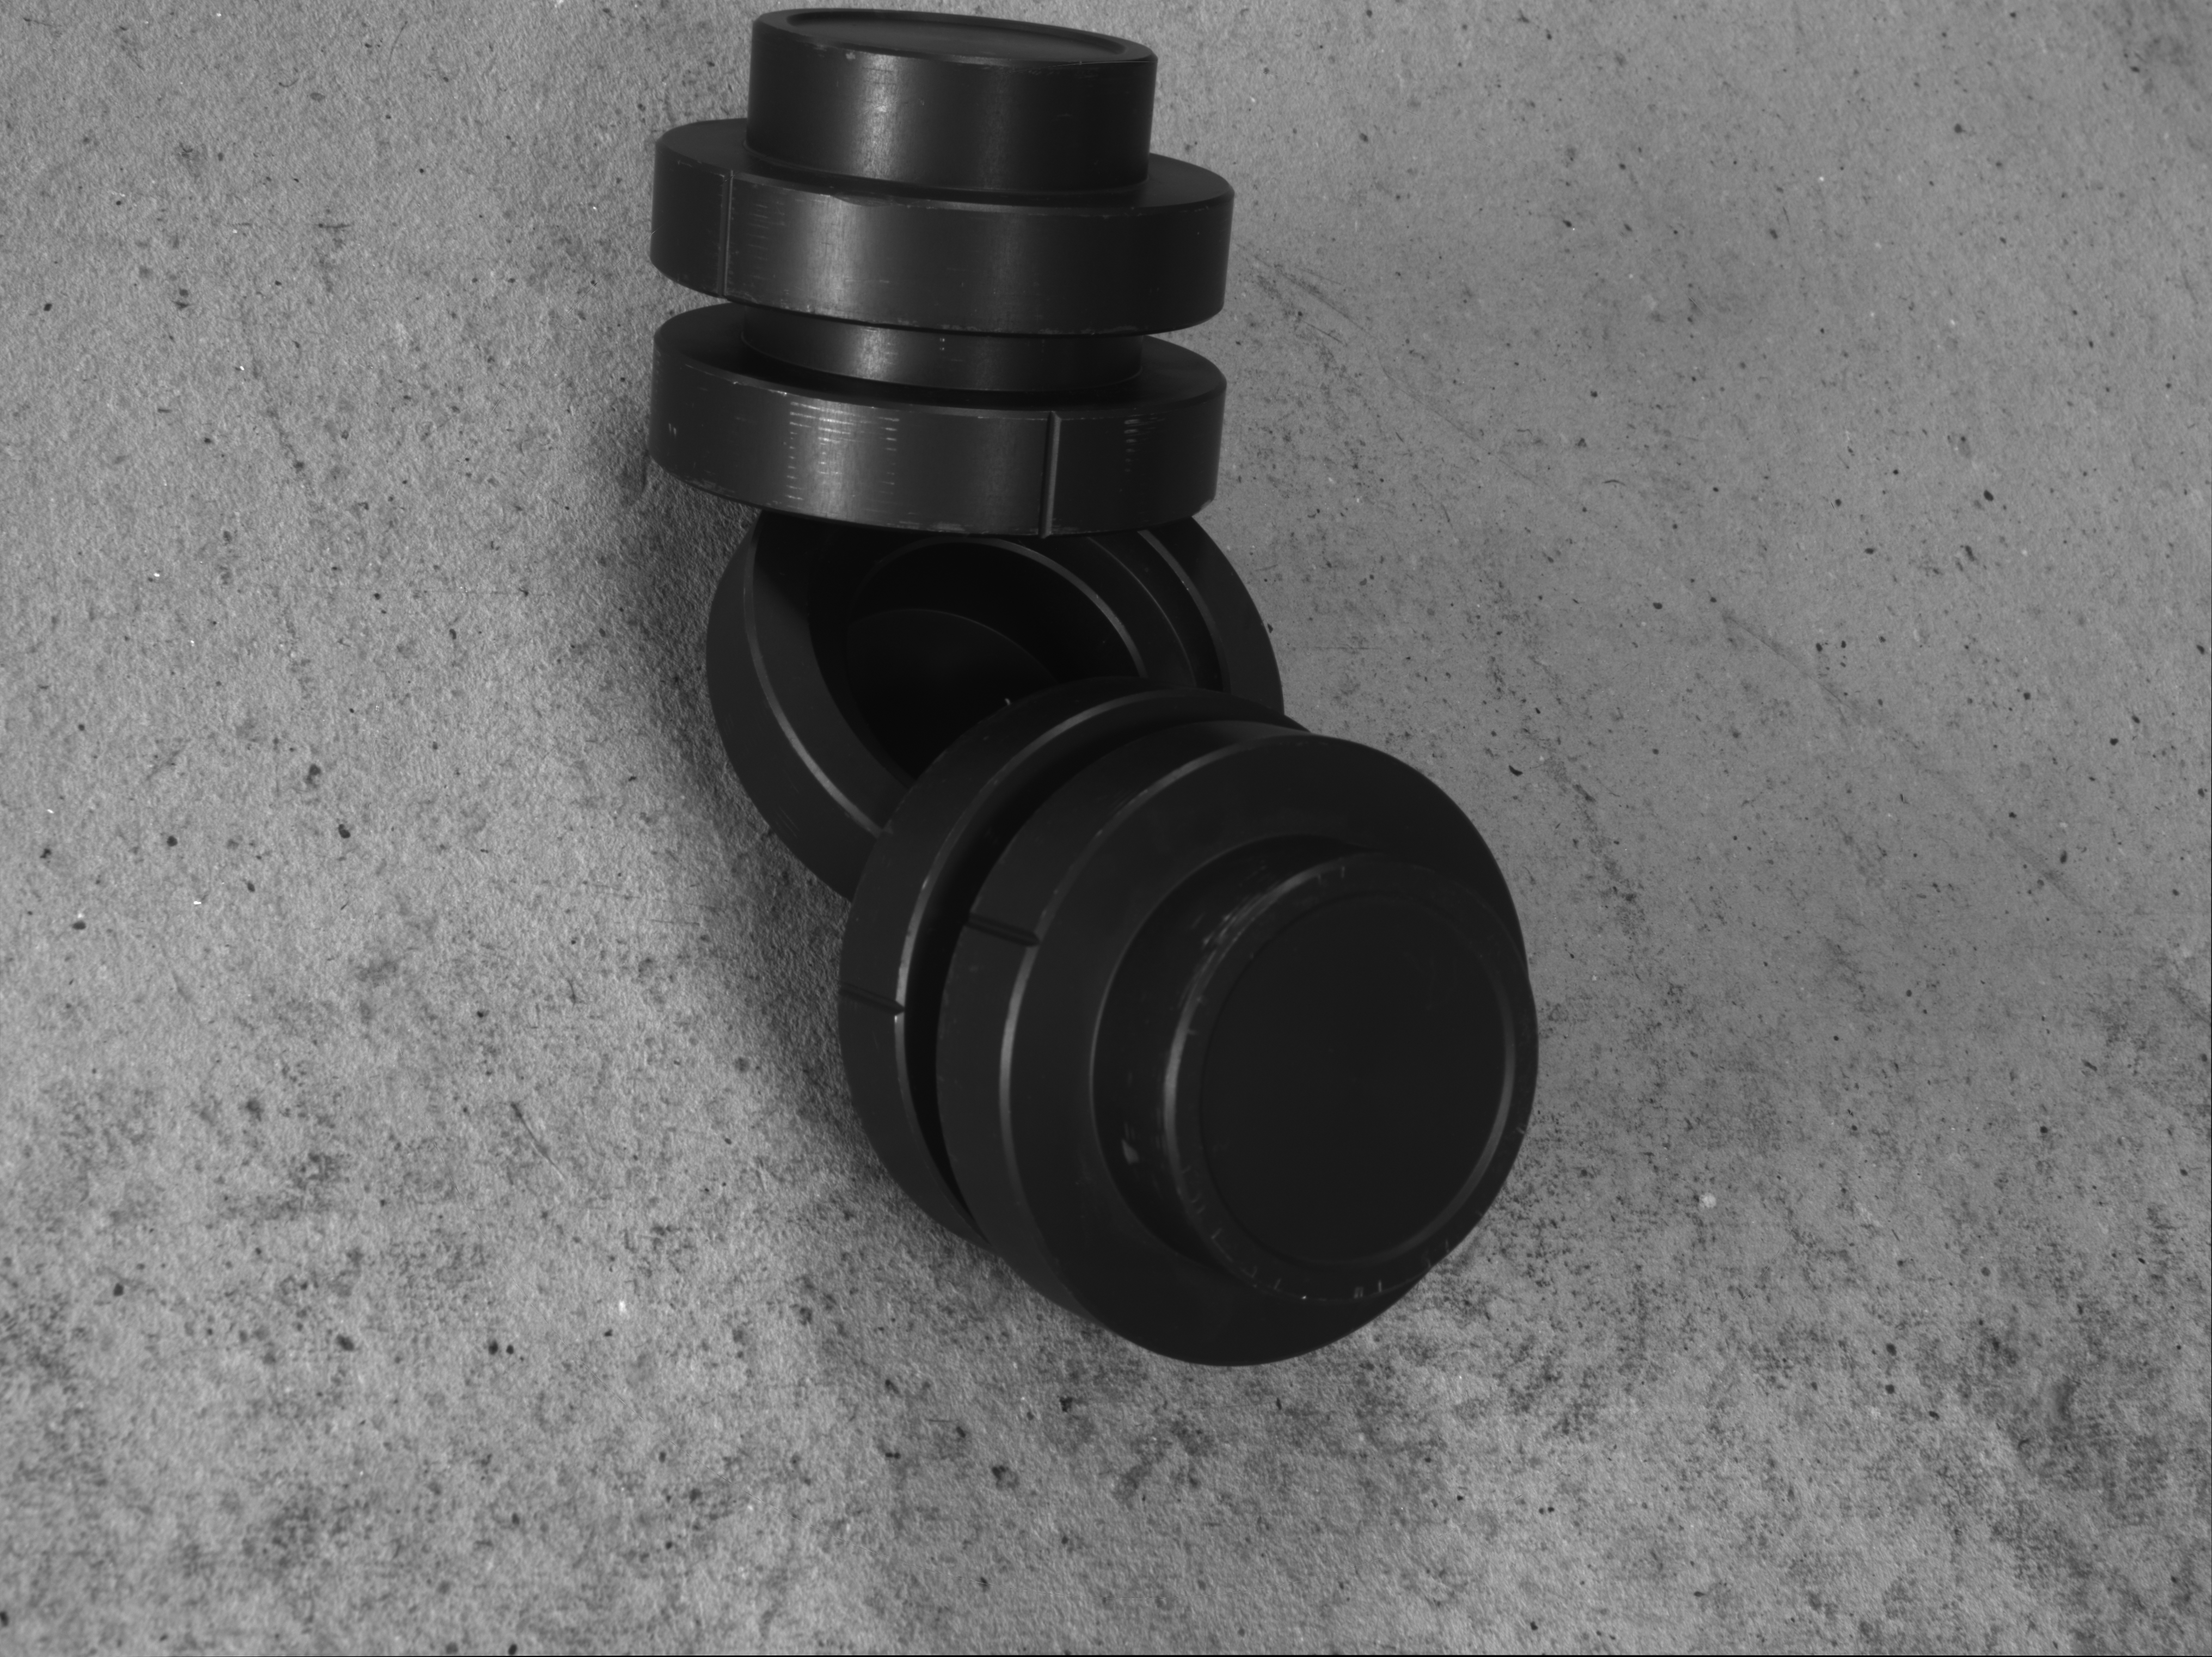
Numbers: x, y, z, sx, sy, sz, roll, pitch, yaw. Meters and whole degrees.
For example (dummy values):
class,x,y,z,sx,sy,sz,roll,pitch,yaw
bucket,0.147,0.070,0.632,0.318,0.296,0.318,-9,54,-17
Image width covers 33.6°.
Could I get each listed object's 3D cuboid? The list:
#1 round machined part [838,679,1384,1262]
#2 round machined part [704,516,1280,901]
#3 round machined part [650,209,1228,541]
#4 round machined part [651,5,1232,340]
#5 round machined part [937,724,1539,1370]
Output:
class,x,y,z,sx,sy,sz,roll,pitch,yaw
round machined part,0.010,0.027,0.585,0.098,0.042,0.098,-6,101,-31
round machined part,-0.023,-0.020,0.629,0.098,0.042,0.098,14,56,-21
round machined part,-0.028,-0.082,0.628,0.098,0.042,0.098,5,18,-1
round machined part,-0.027,-0.114,0.621,0.098,0.042,0.098,5,18,-1
round machined part,0.027,0.035,0.559,0.098,0.042,0.098,-5,100,-32
